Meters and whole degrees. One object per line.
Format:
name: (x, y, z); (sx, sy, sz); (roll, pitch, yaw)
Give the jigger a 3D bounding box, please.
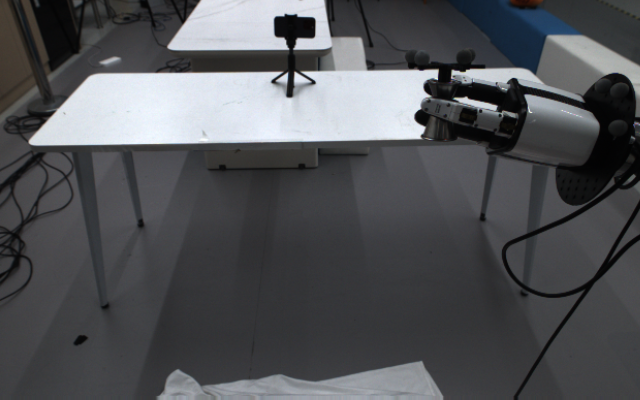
jigger: (0.145, -0.109, 0.584); (0.043, 0.071, 0.043); (0, 21, 0)
